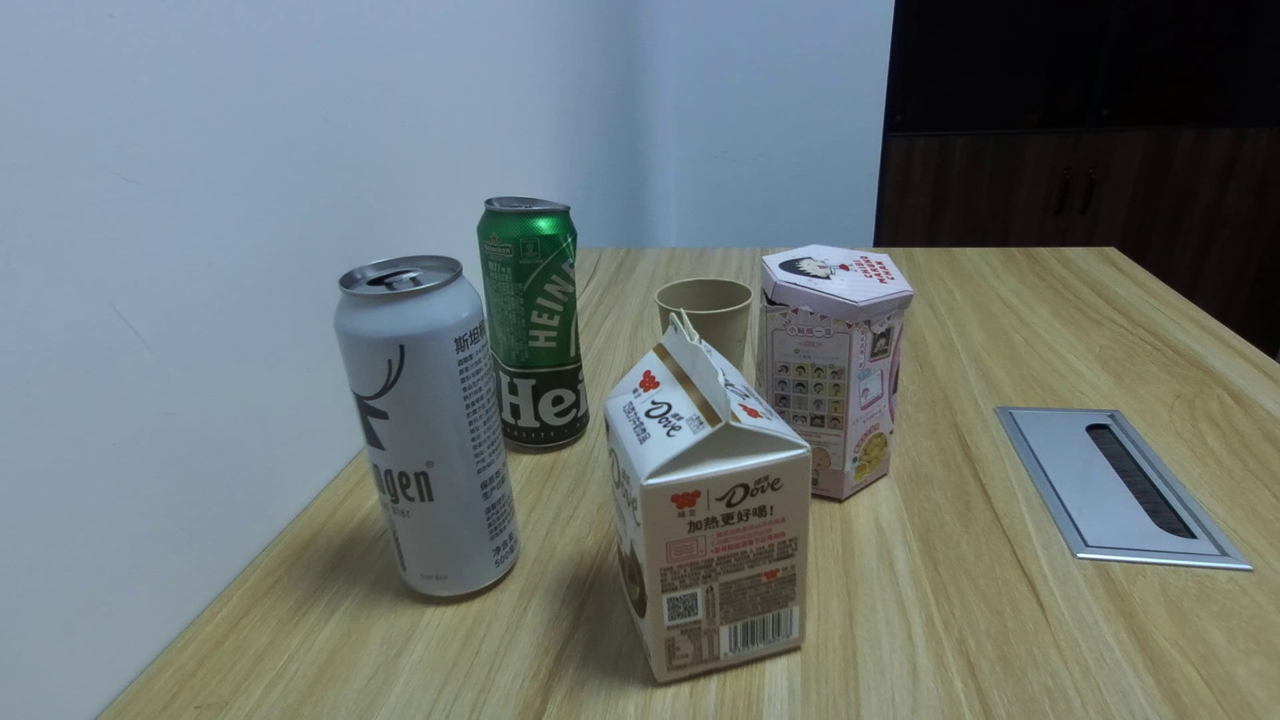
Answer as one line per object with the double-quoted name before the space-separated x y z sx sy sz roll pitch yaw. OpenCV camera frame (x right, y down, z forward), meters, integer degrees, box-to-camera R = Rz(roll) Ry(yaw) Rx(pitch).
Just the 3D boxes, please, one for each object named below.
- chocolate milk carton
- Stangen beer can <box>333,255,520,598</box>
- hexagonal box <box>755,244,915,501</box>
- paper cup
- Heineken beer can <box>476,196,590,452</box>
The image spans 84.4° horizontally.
"chocolate milk carton" 0.031 0.057 0.351 0.074 0.148 0.075 -12 31 -14
"Stangen beer can" -0.103 0.036 0.356 0.067 0.171 0.067 -3 24 2
"hexagonal box" 0.111 0.006 0.429 0.085 0.135 0.092 -4 25 -2
"paper cup" 0.049 -0.010 0.531 0.075 0.082 0.075 -2 23 1
"Heineken beer can" -0.069 -0.023 0.480 0.069 0.168 0.068 3 21 8
